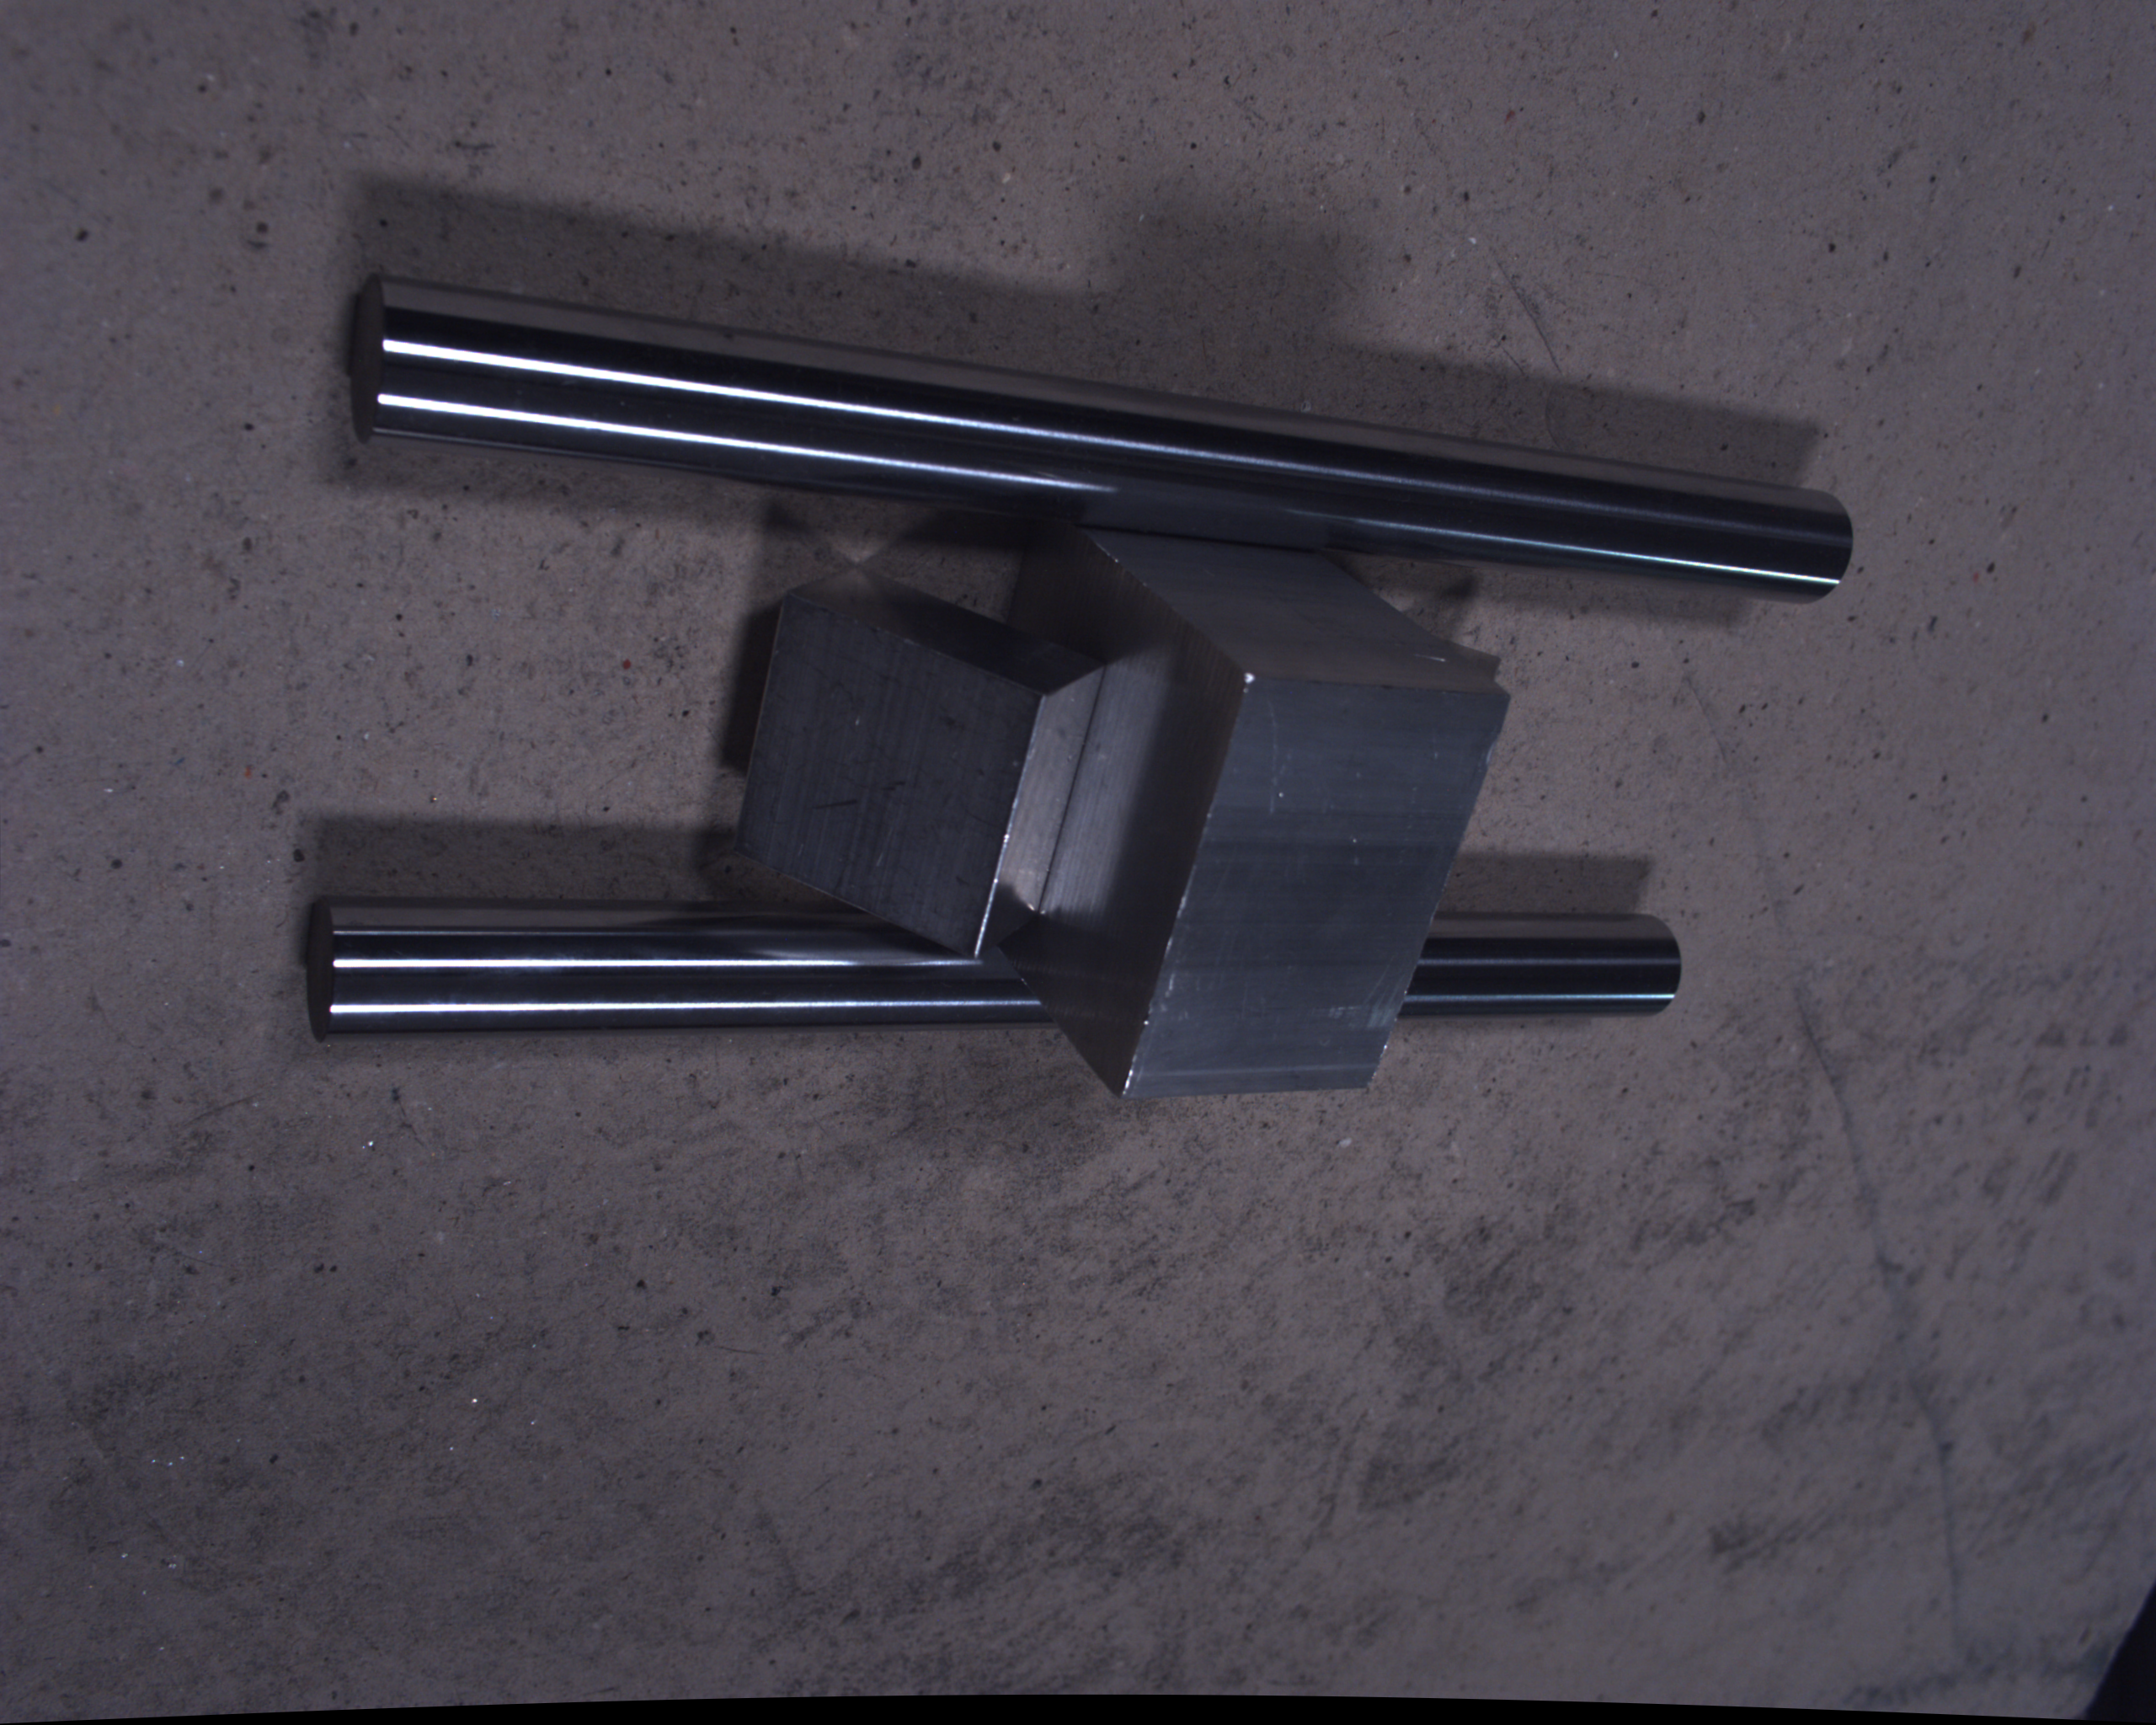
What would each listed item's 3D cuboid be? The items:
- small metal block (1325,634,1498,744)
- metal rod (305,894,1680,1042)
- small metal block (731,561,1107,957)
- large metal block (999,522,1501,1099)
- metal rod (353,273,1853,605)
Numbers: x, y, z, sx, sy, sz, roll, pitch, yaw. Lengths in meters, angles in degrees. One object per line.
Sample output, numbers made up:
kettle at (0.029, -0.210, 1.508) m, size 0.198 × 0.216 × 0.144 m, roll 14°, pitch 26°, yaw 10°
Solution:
small metal block at (0.062, -0.016, 0.416) m, size 0.025 × 0.050 × 0.050 m, roll 19°, pitch 114°, yaw 9°
metal rod at (0.004, 0.021, 0.425) m, size 0.303 × 0.025 × 0.025 m, roll 2°, pitch 118°, yaw -30°
small metal block at (-0.028, -0.019, 0.365) m, size 0.025 × 0.050 × 0.050 m, roll -36°, pitch 146°, yaw -60°
large metal block at (0.021, -0.014, 0.380) m, size 0.050 × 0.080 × 0.079 m, roll 1°, pitch 118°, yaw -29°
metal rod at (0.027, -0.071, 0.381) m, size 0.303 × 0.025 × 0.025 m, roll 1°, pitch 118°, yaw -29°
